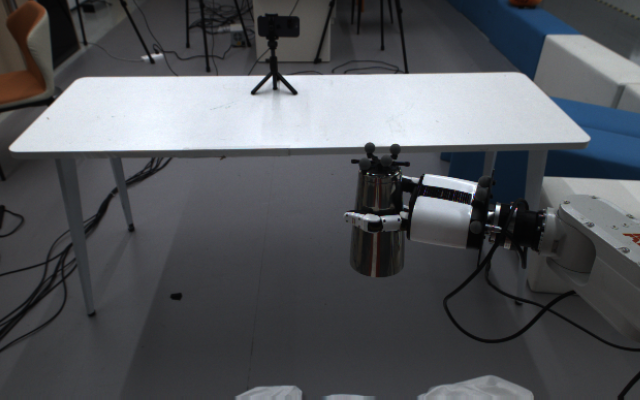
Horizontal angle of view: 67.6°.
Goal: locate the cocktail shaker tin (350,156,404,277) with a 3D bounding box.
[{"bbox_3d":[0.095,0.026,0.776,0.093,0.170,0.093,-1,26,1],"label":"cocktail shaker tin"}]
